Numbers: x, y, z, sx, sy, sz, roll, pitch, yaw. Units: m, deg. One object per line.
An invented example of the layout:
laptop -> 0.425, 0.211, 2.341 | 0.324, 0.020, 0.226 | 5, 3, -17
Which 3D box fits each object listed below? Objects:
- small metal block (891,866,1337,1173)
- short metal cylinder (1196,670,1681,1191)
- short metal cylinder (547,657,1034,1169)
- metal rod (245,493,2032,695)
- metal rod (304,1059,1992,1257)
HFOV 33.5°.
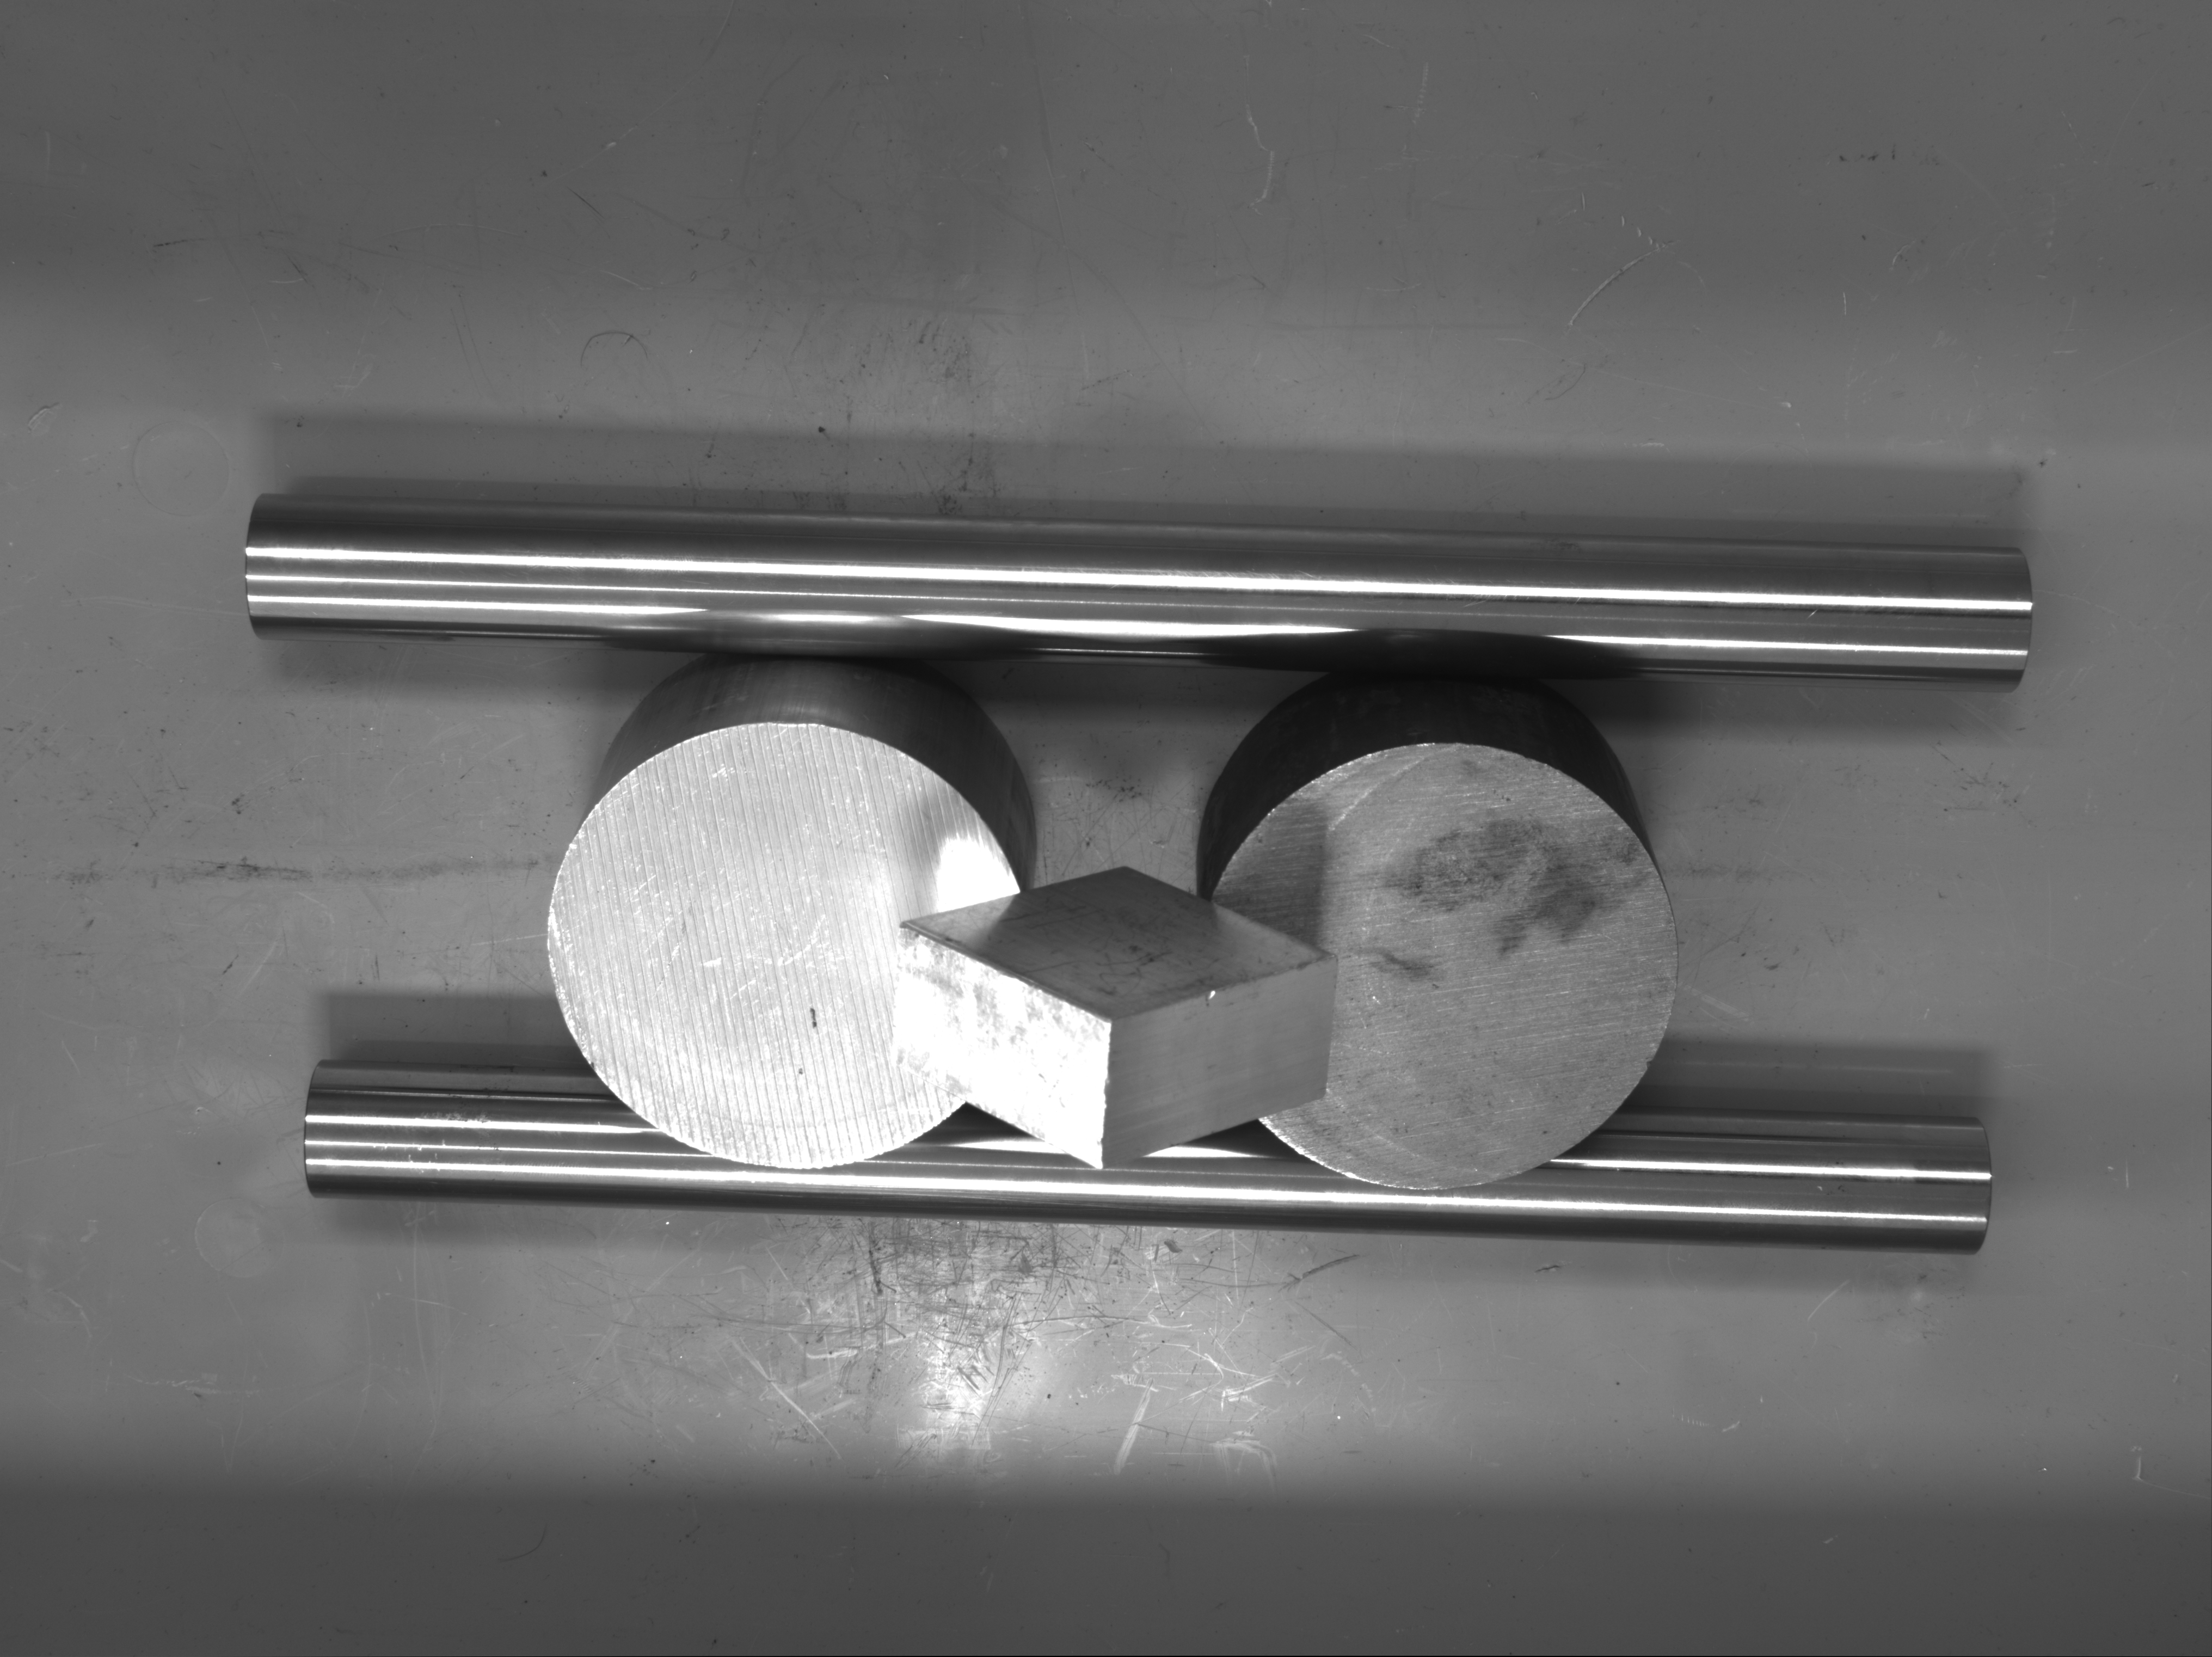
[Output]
small metal block -> 0.001, 0.030, 0.591 | 0.050, 0.050, 0.025 | -14, 116, -41
short metal cylinder -> 0.056, 0.016, 0.636 | 0.080, 0.050, 0.080 | 0, 110, 0
short metal cylinder -> -0.053, 0.012, 0.634 | 0.080, 0.050, 0.080 | 0, 110, 0
metal rod -> 0.006, -0.040, 0.628 | 0.300, 0.025, 0.025 | 2, 110, -1
metal rod -> 0.008, 0.060, 0.665 | 0.300, 0.025, 0.025 | 2, 110, -1
